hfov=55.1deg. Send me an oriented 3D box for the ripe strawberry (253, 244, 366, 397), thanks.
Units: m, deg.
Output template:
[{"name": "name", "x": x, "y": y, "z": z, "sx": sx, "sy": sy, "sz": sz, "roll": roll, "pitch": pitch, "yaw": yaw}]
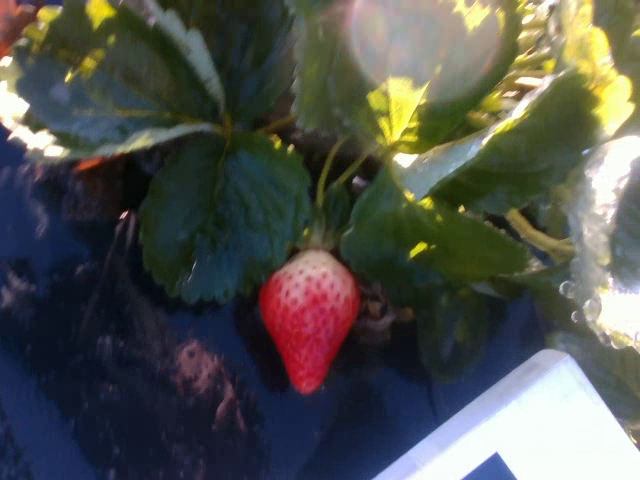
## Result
[{"name": "ripe strawberry", "x": -0.008, "y": 0.035, "z": 0.251, "sx": 0.040, "sy": 0.065, "sz": 0.040, "roll": 7, "pitch": -4, "yaw": -5}]
